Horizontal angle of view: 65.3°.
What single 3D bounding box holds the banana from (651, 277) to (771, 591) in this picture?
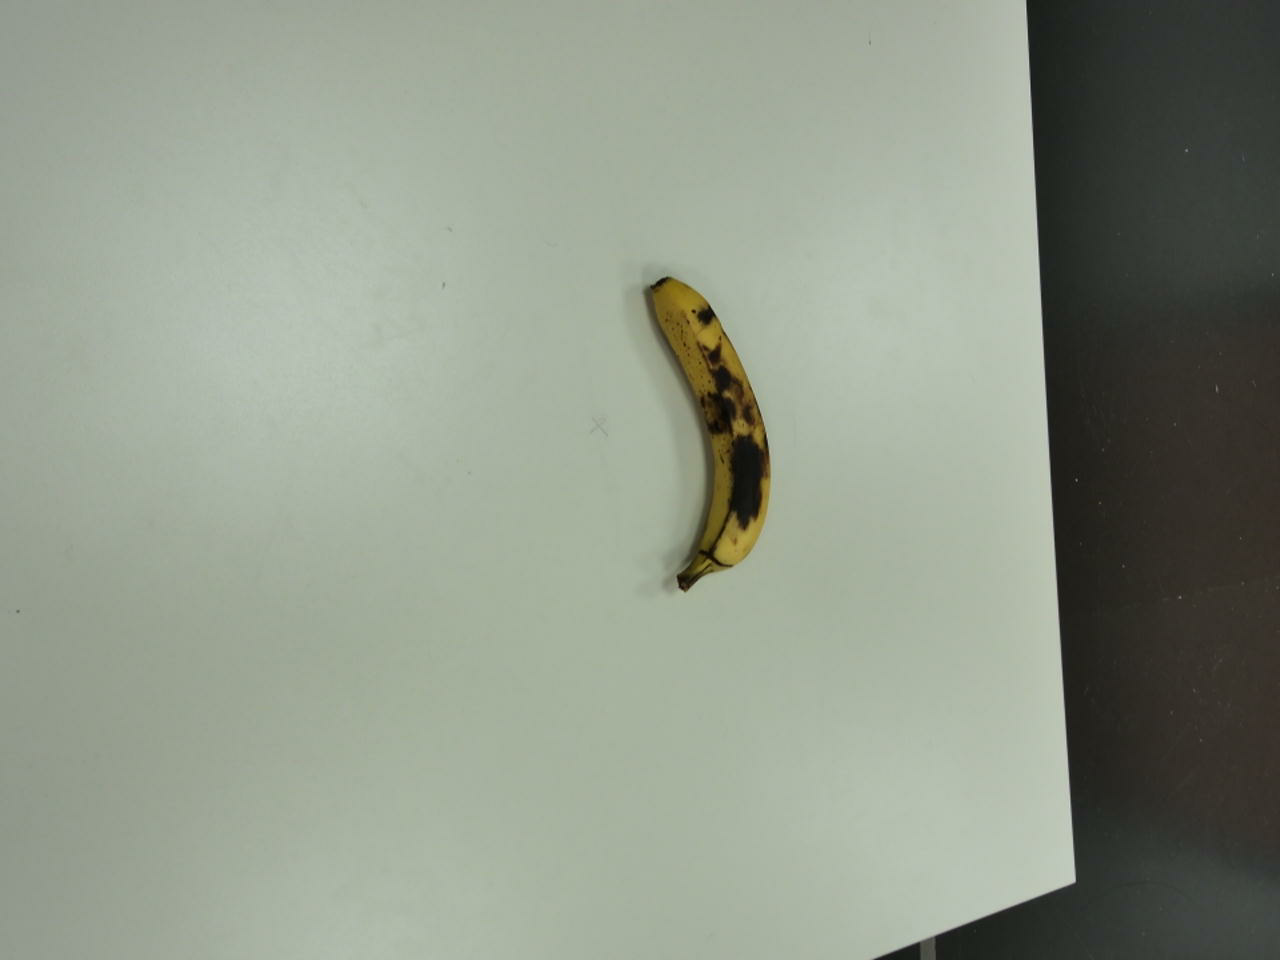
[{"bbox_3d":[0.055,-0.035,0.721,0.084,0.038,0.222,-5,92,-28],"label":"banana"}]
